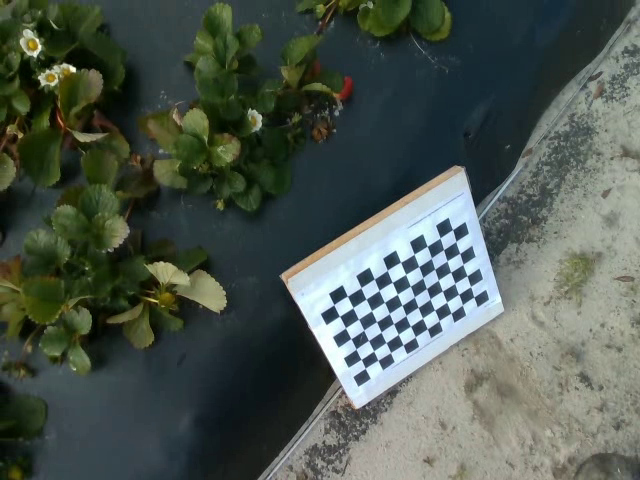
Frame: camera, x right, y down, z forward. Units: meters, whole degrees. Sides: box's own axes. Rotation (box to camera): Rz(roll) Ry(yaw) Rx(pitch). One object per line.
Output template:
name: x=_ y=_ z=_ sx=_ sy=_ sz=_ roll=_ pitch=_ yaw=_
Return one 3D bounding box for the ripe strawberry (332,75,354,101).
ripe strawberry: x=0.018 y=-0.135 z=0.591 sx=0.022 sy=0.027 sz=0.021 roll=30 pitch=18 yaw=-45
